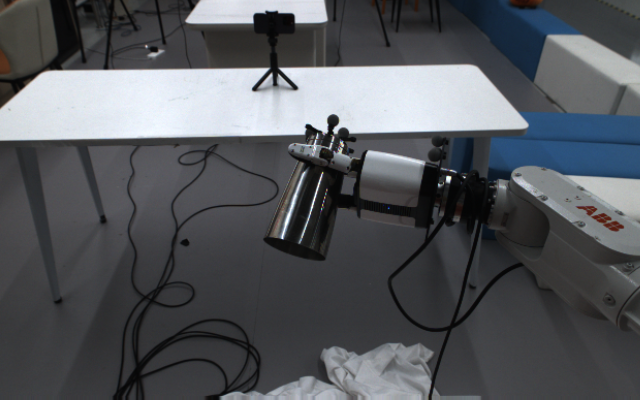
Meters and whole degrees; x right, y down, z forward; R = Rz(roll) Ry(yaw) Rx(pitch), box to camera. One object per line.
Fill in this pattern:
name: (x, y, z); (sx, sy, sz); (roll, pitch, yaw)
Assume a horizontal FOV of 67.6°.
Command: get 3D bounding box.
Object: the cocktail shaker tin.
cocktail shaker tin: (-0.010, -0.010, 0.703); (0.093, 0.093, 0.170); (13, 72, 15)
